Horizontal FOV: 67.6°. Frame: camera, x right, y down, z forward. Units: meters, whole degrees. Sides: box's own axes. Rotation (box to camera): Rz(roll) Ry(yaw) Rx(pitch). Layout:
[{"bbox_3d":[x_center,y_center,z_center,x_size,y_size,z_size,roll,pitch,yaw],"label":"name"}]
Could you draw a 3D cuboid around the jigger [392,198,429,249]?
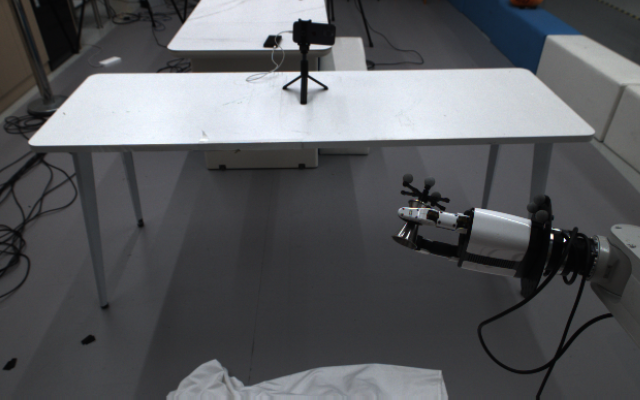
[{"bbox_3d":[0.146,0.035,0.768,0.043,0.043,0.071,20,73,24],"label":"jigger"}]
